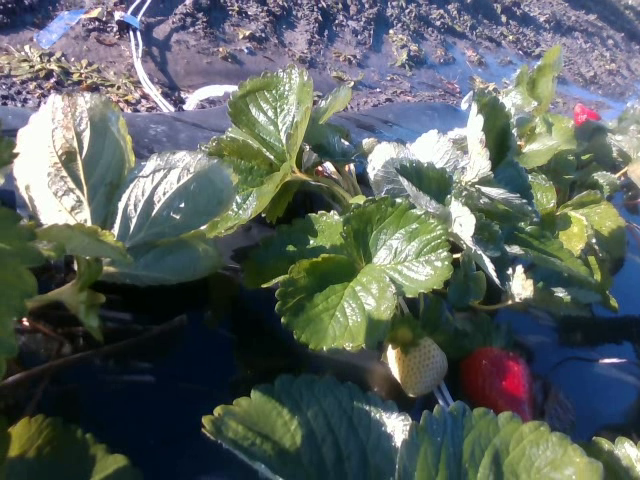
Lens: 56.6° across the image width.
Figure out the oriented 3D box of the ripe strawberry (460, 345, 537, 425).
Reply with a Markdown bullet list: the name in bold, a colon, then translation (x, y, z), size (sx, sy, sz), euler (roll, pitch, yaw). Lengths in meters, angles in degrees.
- **ripe strawberry**: translation (0.127, 0.094, 0.383), size (0.040, 0.062, 0.080), euler (-35, 22, 11)
